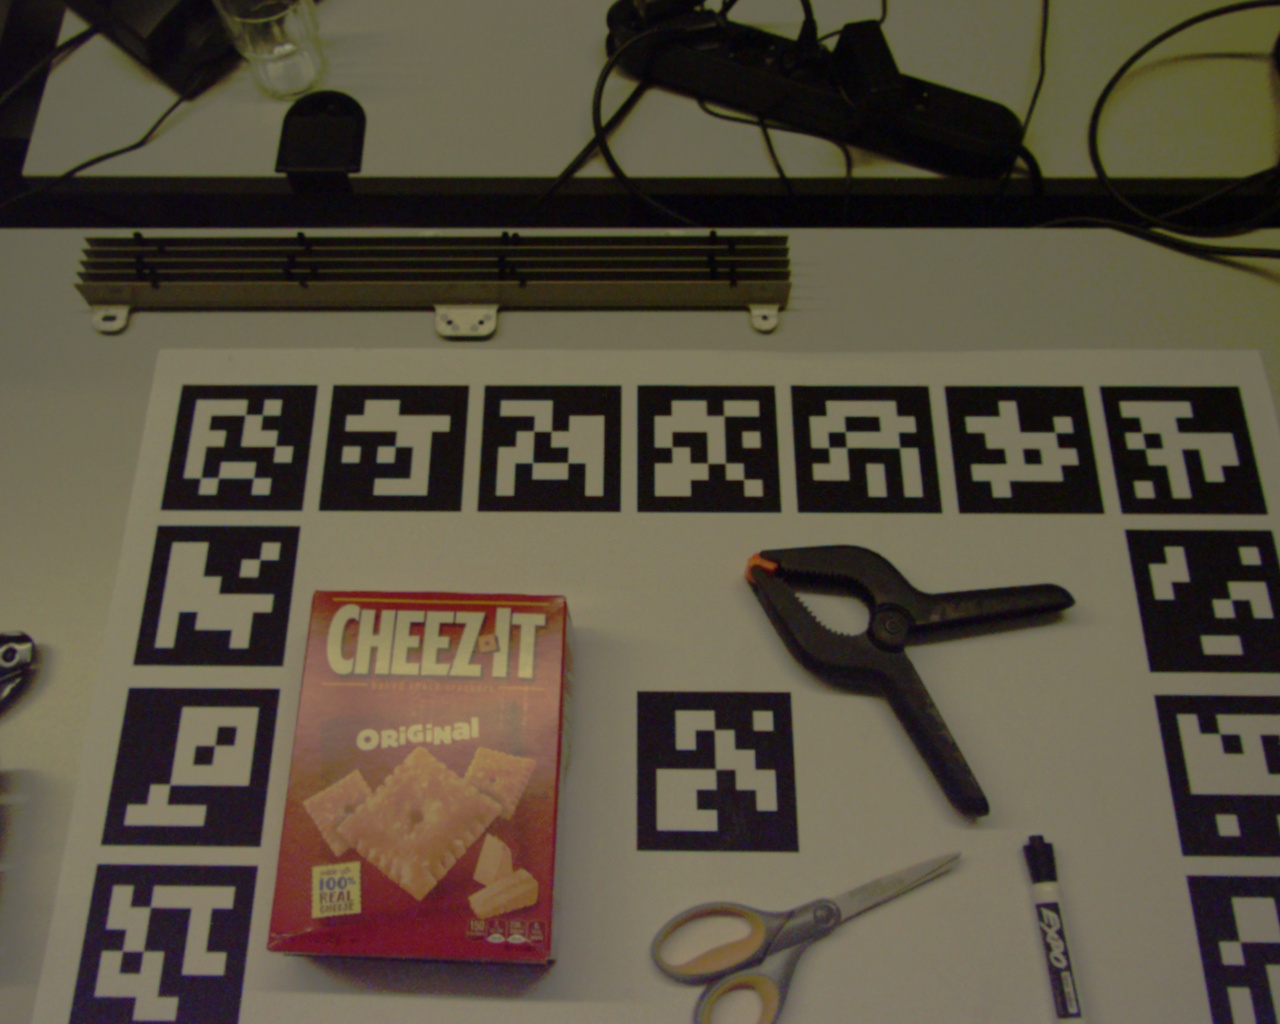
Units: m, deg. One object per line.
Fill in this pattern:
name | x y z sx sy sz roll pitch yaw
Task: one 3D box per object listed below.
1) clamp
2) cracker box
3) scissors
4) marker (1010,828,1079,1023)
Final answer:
clamp | 0.157 0.085 0.793 0.204 0.036 0.165 28 69 12
cracker box | -0.124 0.174 0.730 0.164 0.072 0.214 0 67 1
scissors | 0.109 0.256 0.715 0.202 0.016 0.088 -27 67 -12
marker | 0.251 0.259 0.709 0.019 0.019 0.121 -4 66 -1
